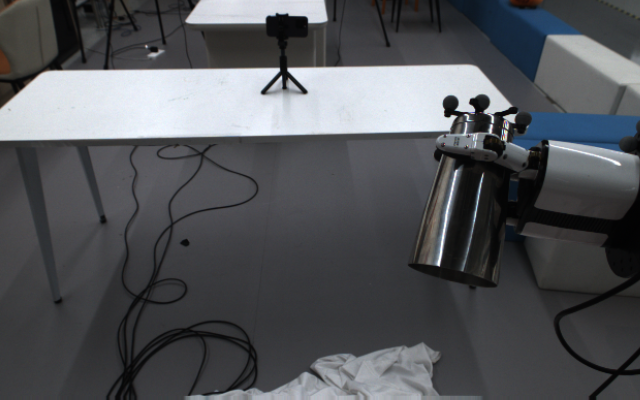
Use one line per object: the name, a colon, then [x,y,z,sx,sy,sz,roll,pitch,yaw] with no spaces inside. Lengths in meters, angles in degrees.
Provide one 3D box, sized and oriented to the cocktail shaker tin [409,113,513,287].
cocktail shaker tin: [0.161,-0.005,0.515,0.093,0.093,0.170,13,76,15]
